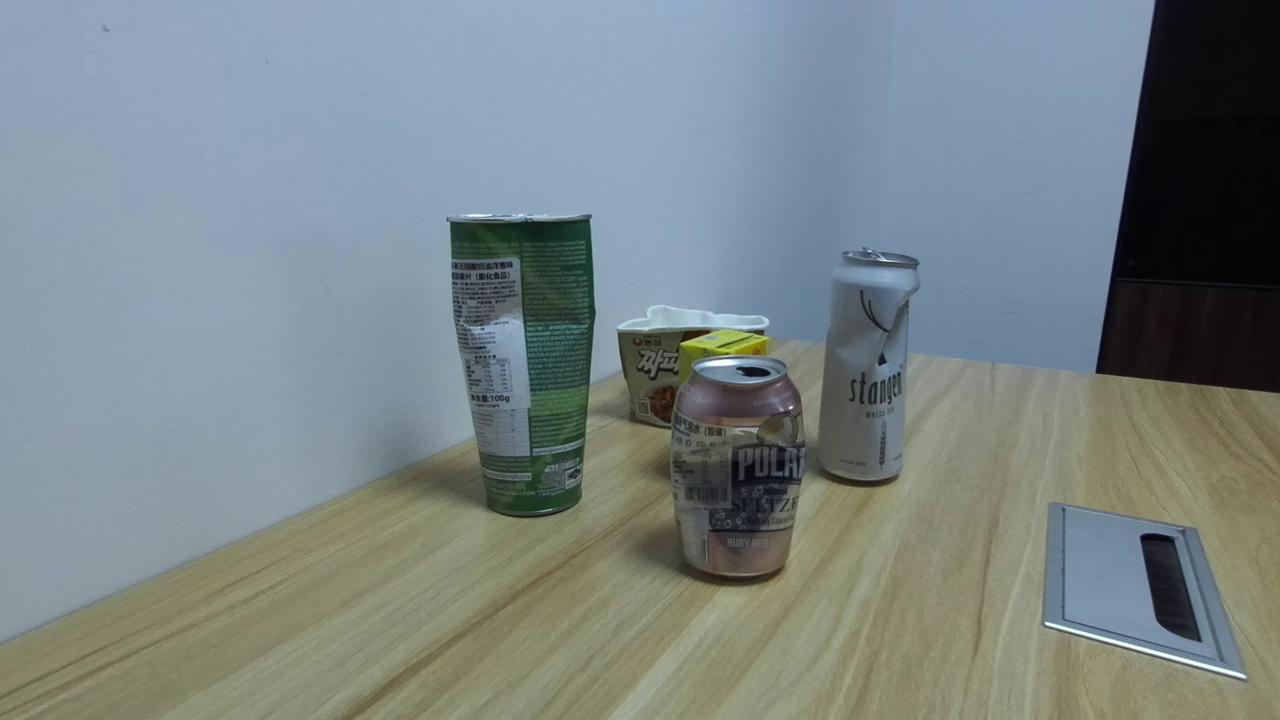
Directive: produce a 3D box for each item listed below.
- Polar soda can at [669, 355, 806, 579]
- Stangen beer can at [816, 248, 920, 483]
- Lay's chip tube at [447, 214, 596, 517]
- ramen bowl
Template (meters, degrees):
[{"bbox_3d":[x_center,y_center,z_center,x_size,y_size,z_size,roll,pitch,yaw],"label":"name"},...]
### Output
[{"bbox_3d":[0.058,0.062,0.408,0.074,0.122,0.067,10,20,34],"label":"Polar soda can"},{"bbox_3d":[0.173,0.005,0.528,0.070,0.173,0.069,-2,15,-10],"label":"Stangen beer can"},{"bbox_3d":[-0.076,0.003,0.485,0.068,0.199,0.075,10,18,34],"label":"Lay's chip tube"},{"bbox_3d":[0.055,0.003,0.677,0.133,0.097,0.114,2,15,14],"label":"ramen bowl"}]
